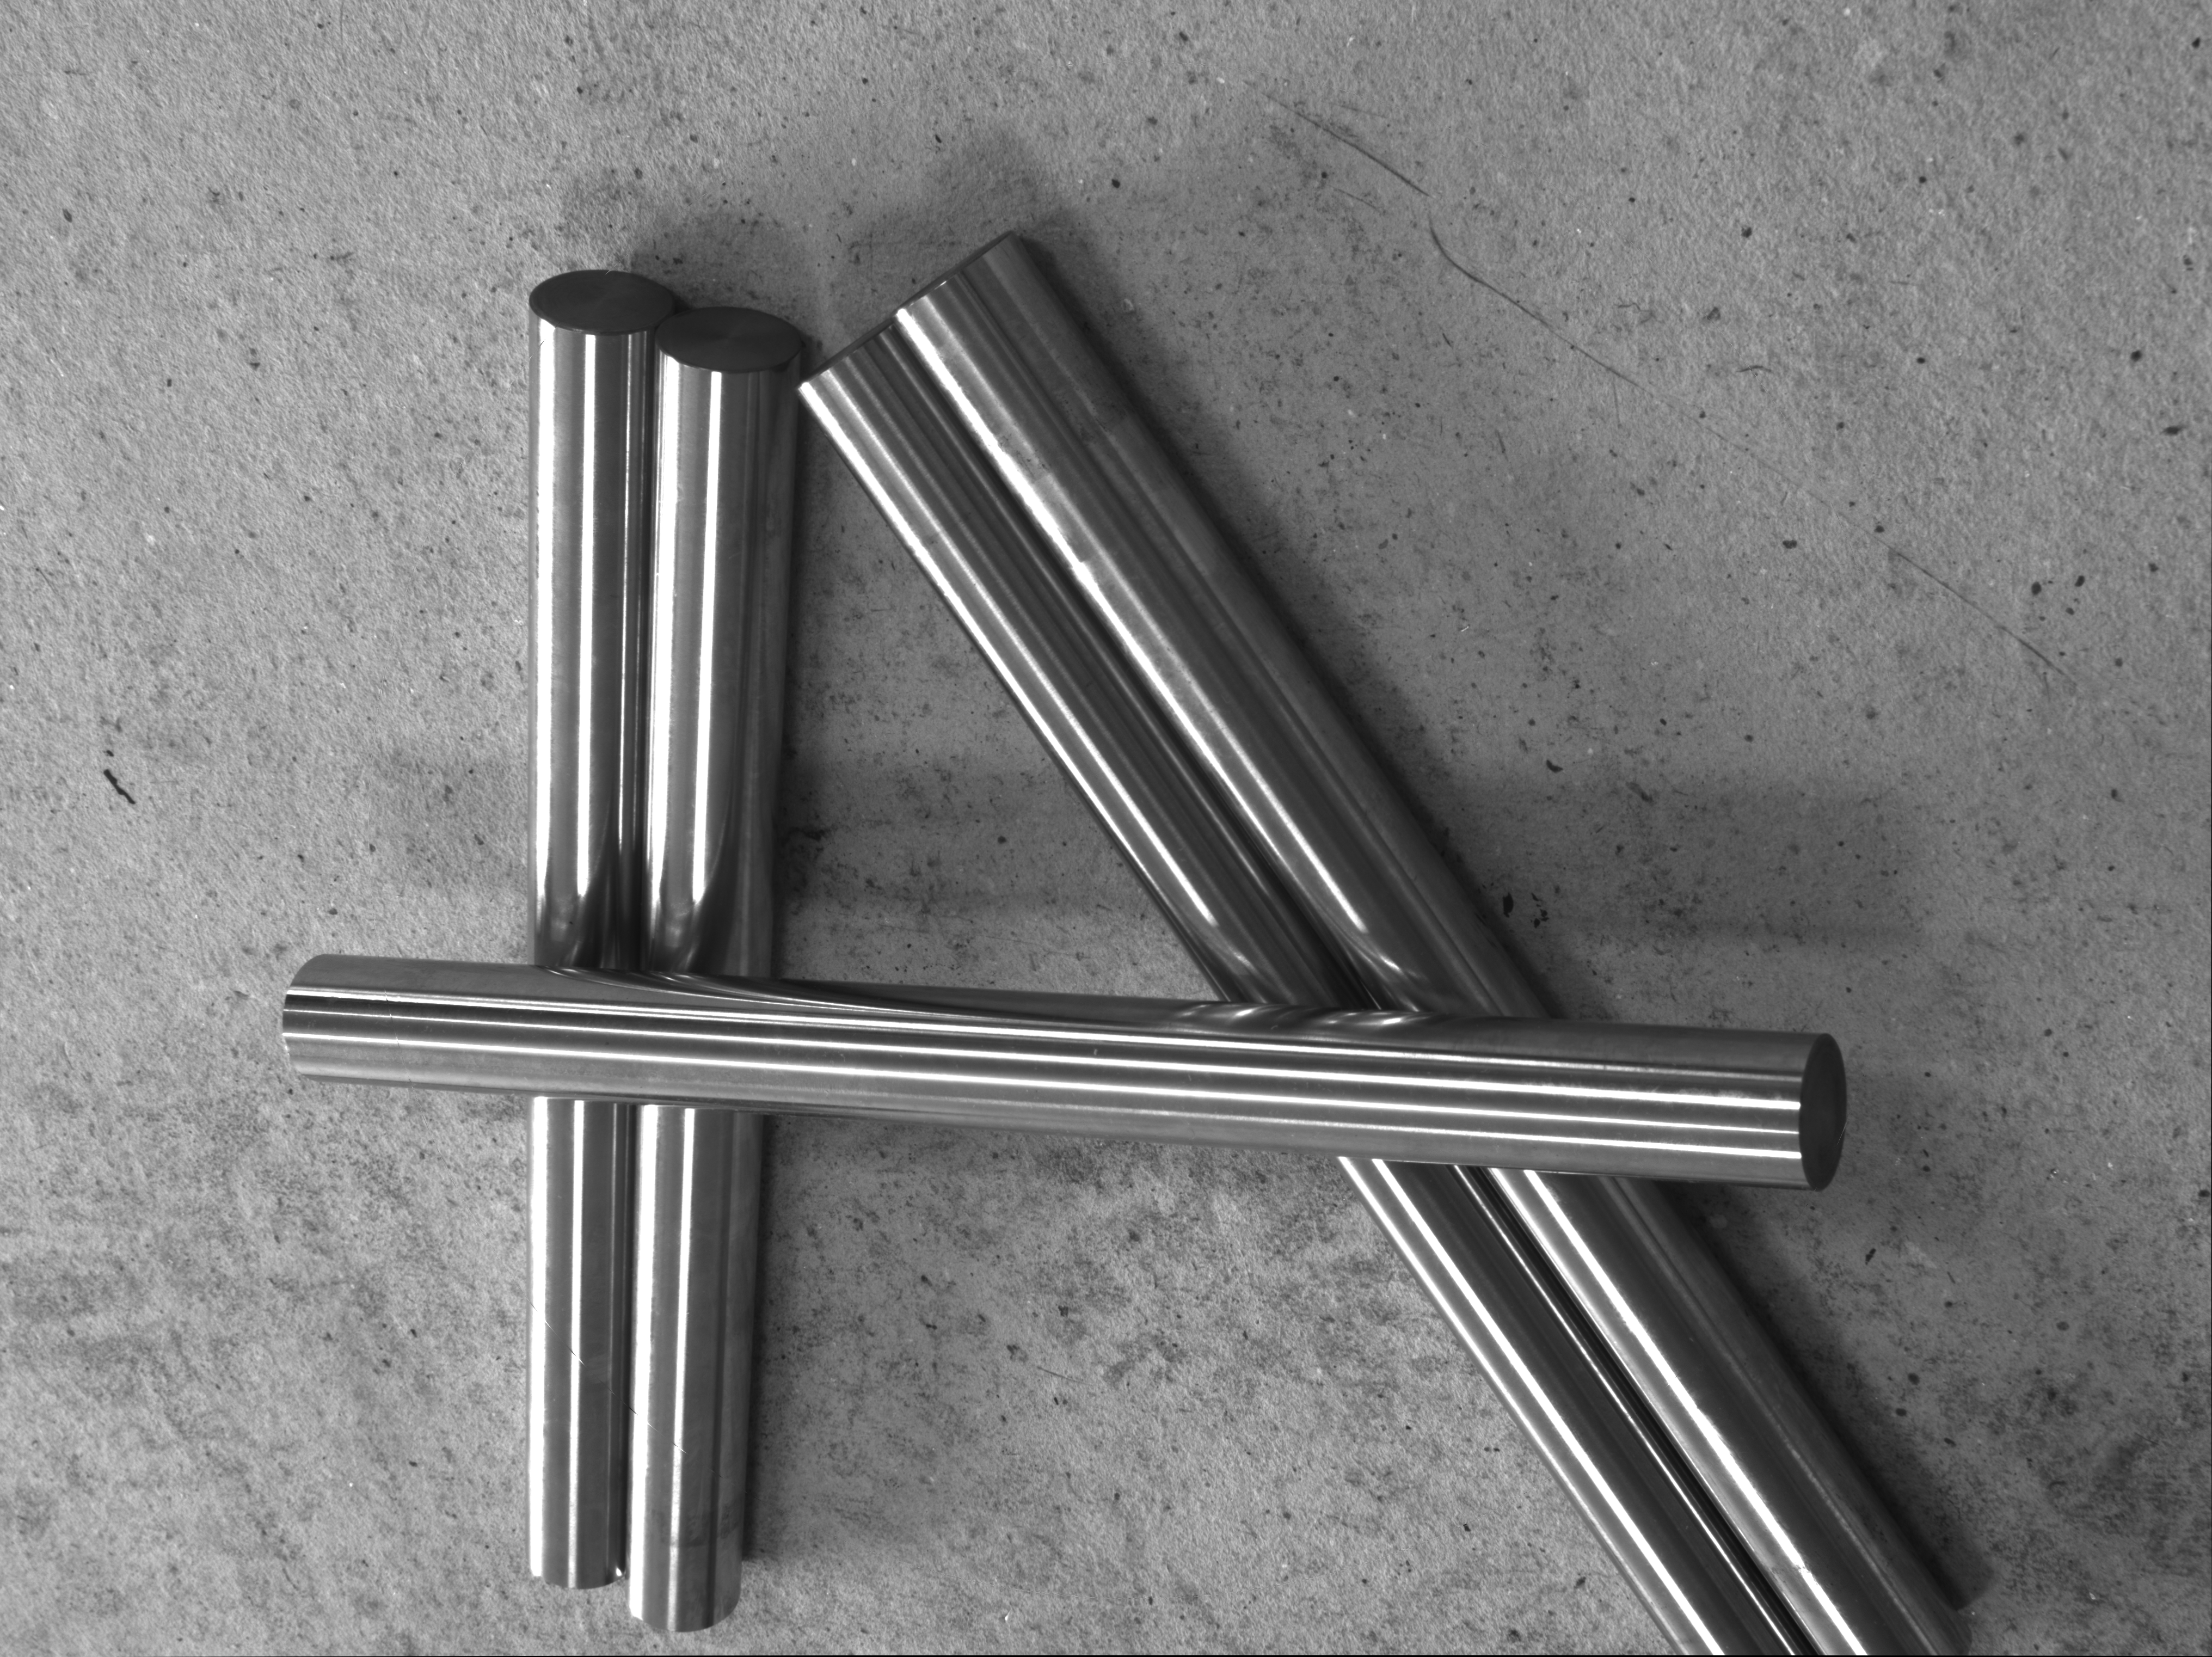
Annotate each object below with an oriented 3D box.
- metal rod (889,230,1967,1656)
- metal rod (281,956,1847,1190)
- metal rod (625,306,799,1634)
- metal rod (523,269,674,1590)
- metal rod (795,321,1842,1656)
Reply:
[{"bbox_3d":[0.059,0.030,0.630,0.025,0.025,0.300,-26,104,37],"label":"metal rod"},{"bbox_3d":[-0.020,0.041,0.646,0.299,0.025,0.025,2,119,27],"label":"metal rod"},{"bbox_3d":[-0.078,0.041,0.709,0.025,0.025,0.300,18,126,18],"label":"metal rod"},{"bbox_3d":[-0.101,0.033,0.716,0.025,0.025,0.300,19,126,18],"label":"metal rod"},{"bbox_3d":[0.042,0.039,0.645,0.025,0.025,0.300,-26,104,37],"label":"metal rod"}]
